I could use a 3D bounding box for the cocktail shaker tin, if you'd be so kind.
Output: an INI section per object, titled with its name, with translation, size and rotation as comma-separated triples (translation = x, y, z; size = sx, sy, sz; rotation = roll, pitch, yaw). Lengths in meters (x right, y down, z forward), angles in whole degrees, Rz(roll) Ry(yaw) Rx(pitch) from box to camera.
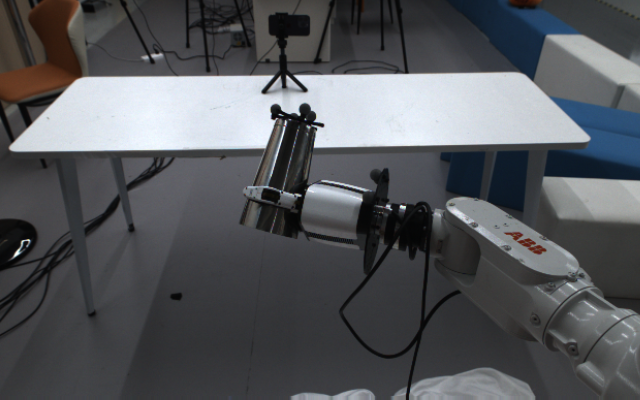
[cocktail shaker tin]
translation = -0.059, -0.034, 0.746
size = 0.093, 0.170, 0.093
rotation = 14, -4, 1
